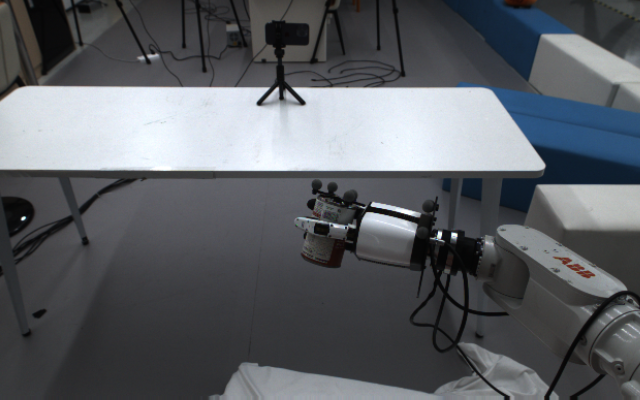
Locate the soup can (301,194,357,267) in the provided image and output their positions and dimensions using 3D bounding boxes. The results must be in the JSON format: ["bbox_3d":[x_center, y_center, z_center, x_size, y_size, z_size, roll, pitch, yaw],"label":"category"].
[{"bbox_3d":[0.015,0.051,0.773,0.067,0.101,0.067,15,7,-2],"label":"soup can"}]
